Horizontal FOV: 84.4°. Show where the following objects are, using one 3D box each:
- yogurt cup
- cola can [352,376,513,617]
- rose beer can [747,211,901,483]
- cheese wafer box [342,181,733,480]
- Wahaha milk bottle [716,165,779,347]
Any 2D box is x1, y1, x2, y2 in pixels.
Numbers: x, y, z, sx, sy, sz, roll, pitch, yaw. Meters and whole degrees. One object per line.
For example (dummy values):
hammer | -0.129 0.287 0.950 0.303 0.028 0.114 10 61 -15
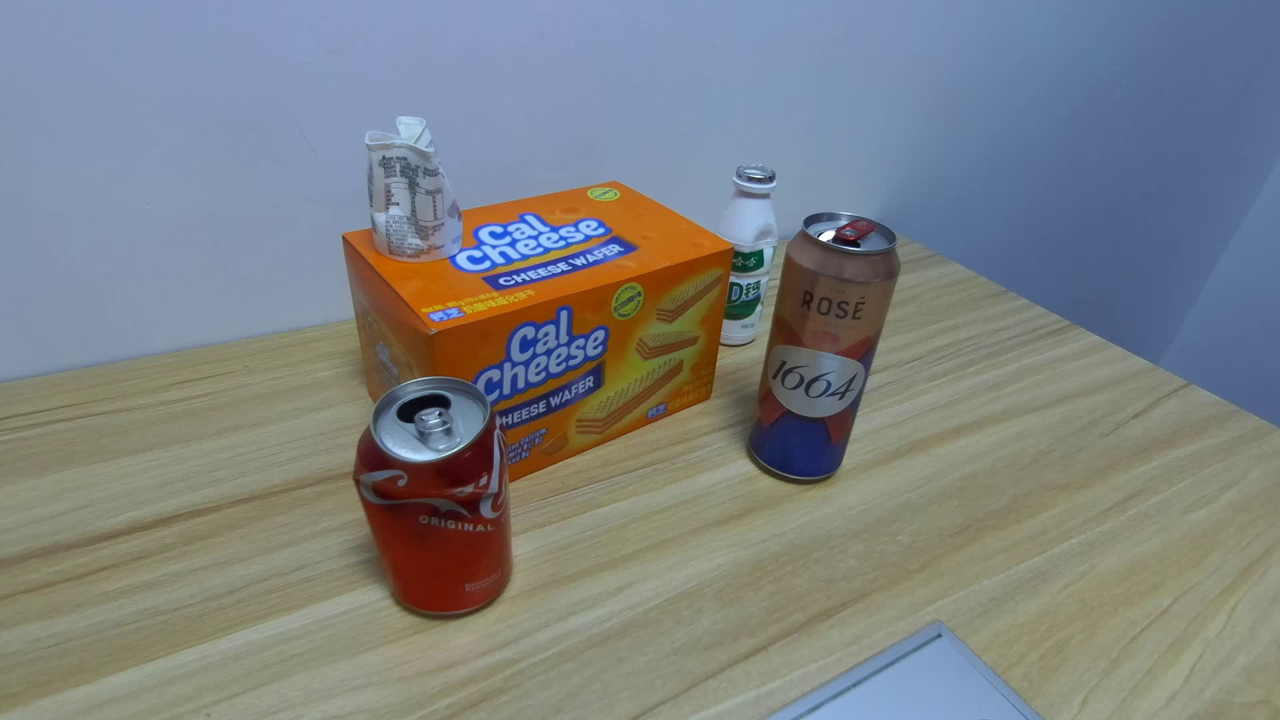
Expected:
yogurt cup | -0.137 -0.102 0.425 0.055 0.072 0.055 9 33 5
cola can | -0.097 0.070 0.358 0.072 0.117 0.065 10 32 10
rose beer can | 0.114 -0.003 0.447 0.069 0.169 0.068 4 33 -2
cheese wafer box | -0.067 -0.026 0.500 0.223 0.129 0.147 -20 41 -32
Wahaha milk bottle | 0.086 -0.082 0.596 0.053 0.137 0.053 3 40 -2
